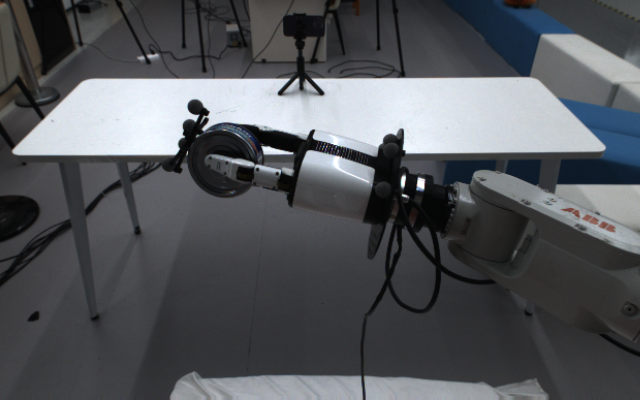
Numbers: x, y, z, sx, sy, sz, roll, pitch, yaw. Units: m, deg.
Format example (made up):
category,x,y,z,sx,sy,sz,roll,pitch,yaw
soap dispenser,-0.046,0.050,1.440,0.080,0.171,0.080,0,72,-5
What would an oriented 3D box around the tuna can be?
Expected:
category,x,y,z,sx,sy,sz,roll,pitch,yaw
tuna can,-0.108,-0.043,0.573,0.085,0.085,0.034,3,21,2
